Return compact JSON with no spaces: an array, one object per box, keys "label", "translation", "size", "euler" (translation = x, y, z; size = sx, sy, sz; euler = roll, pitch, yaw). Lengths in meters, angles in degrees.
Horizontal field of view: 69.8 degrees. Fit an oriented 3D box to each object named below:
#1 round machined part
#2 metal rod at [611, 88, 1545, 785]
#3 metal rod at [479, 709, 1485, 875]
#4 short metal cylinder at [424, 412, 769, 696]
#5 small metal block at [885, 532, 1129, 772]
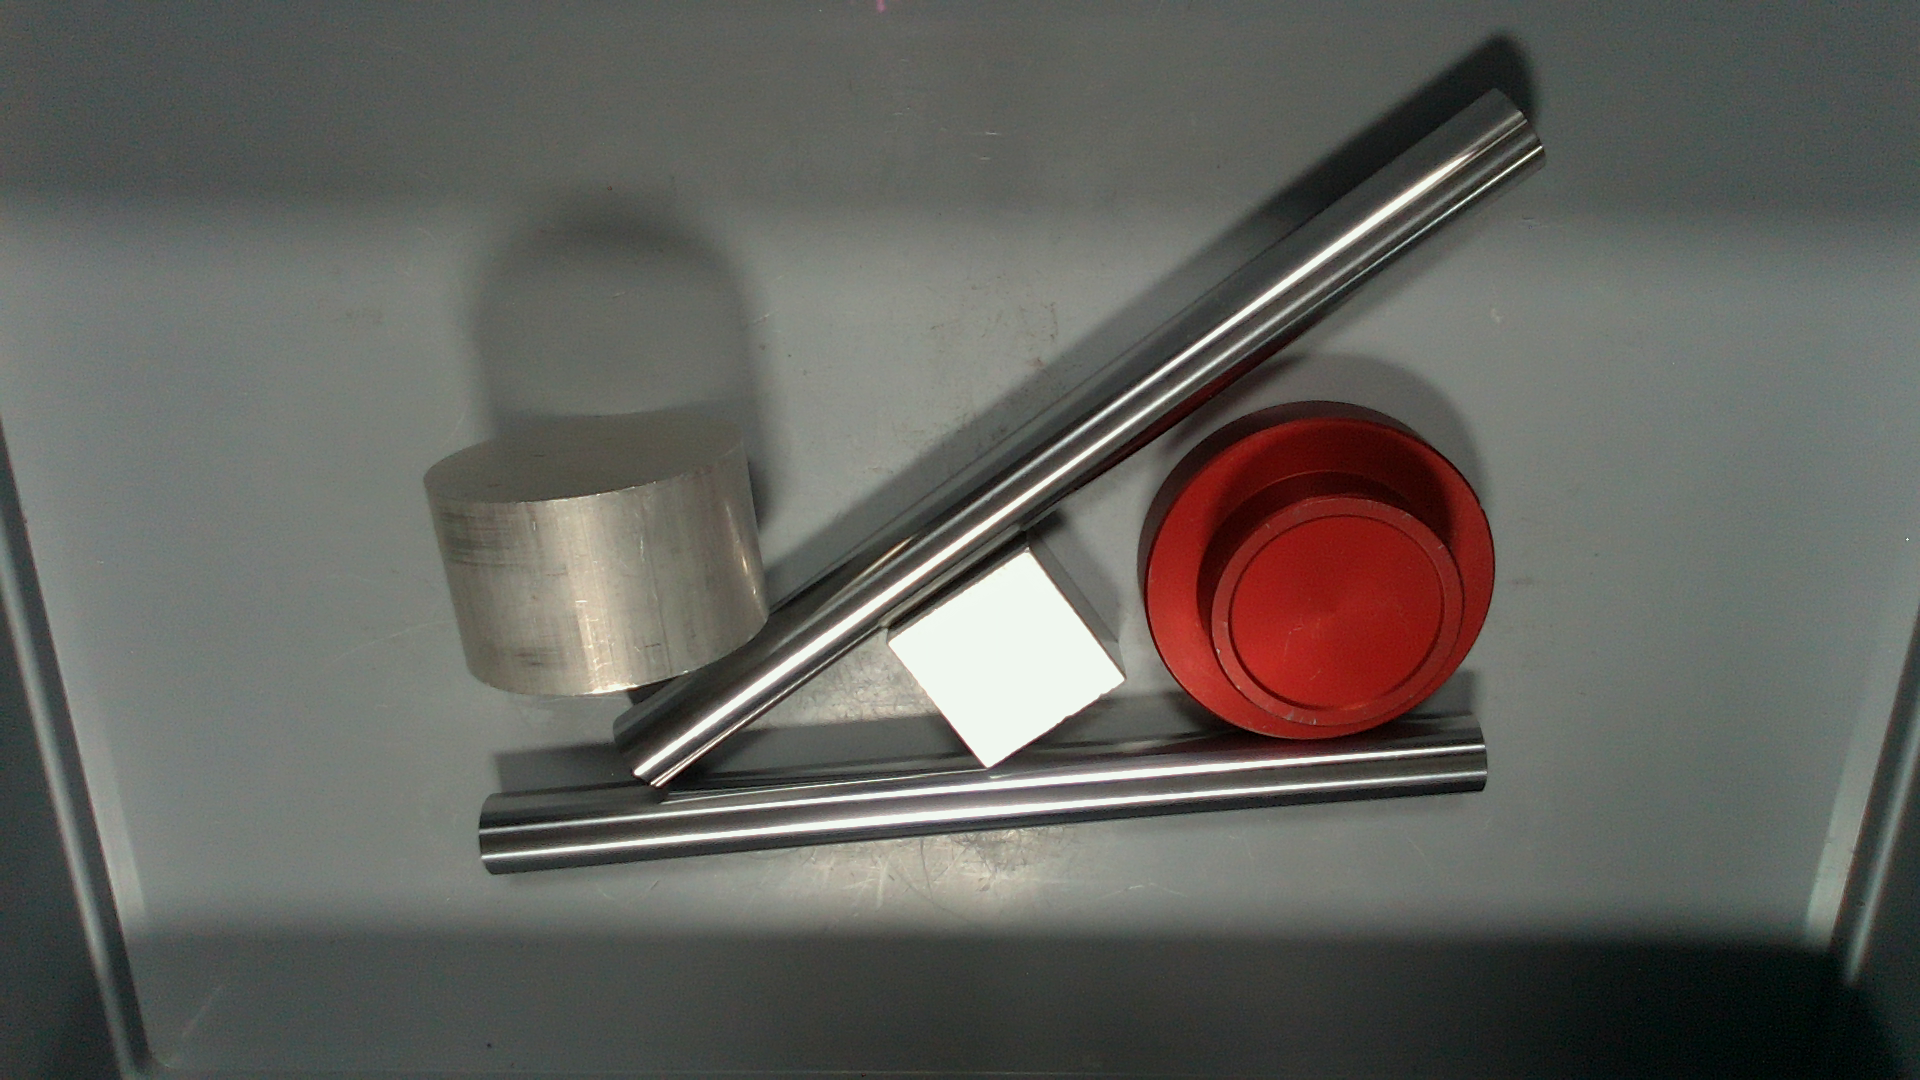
[{"label":"round machined part","translation":[0.101,0.014,0.388],"size":[0.098,0.042,0.098],"euler":[0,110,0]},{"label":"metal rod","translation":[0.023,-0.021,0.385],"size":[0.300,0.025,0.025],"euler":[-35,106,12]},{"label":"metal rod","translation":[0.006,0.077,0.421],"size":[0.300,0.025,0.025],"euler":[-5,110,2]},{"label":"short metal cylinder","translation":[-0.094,0.001,0.364],"size":[0.080,0.080,0.050],"euler":[-5,110,2]},{"label":"small metal block","translation":[0.014,0.031,0.404],"size":[0.050,0.025,0.050],"euler":[-34,107,12]}]
